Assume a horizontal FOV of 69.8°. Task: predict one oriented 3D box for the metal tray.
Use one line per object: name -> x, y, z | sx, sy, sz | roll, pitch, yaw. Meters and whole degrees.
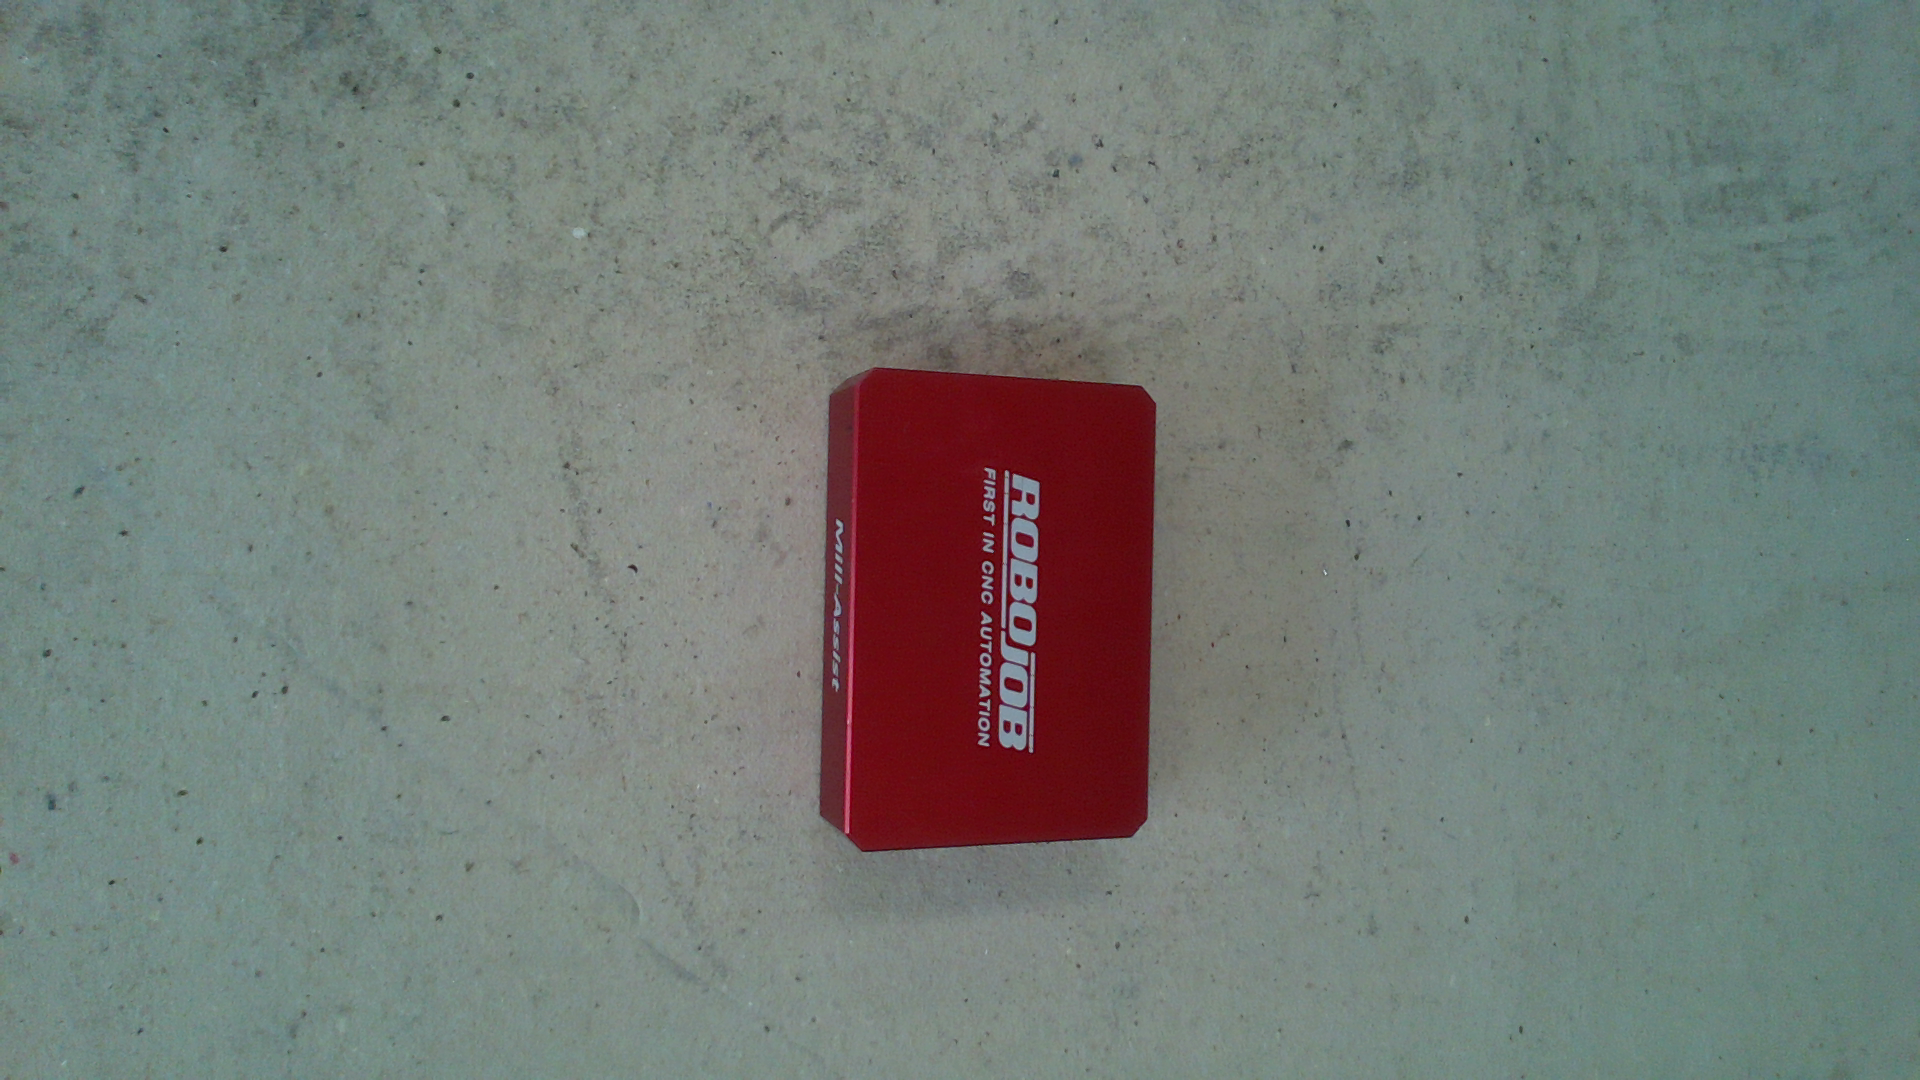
metal tray -> 0.008, 0.020, 0.393 | 0.090, 0.030, 0.130 | 1, 90, -20
